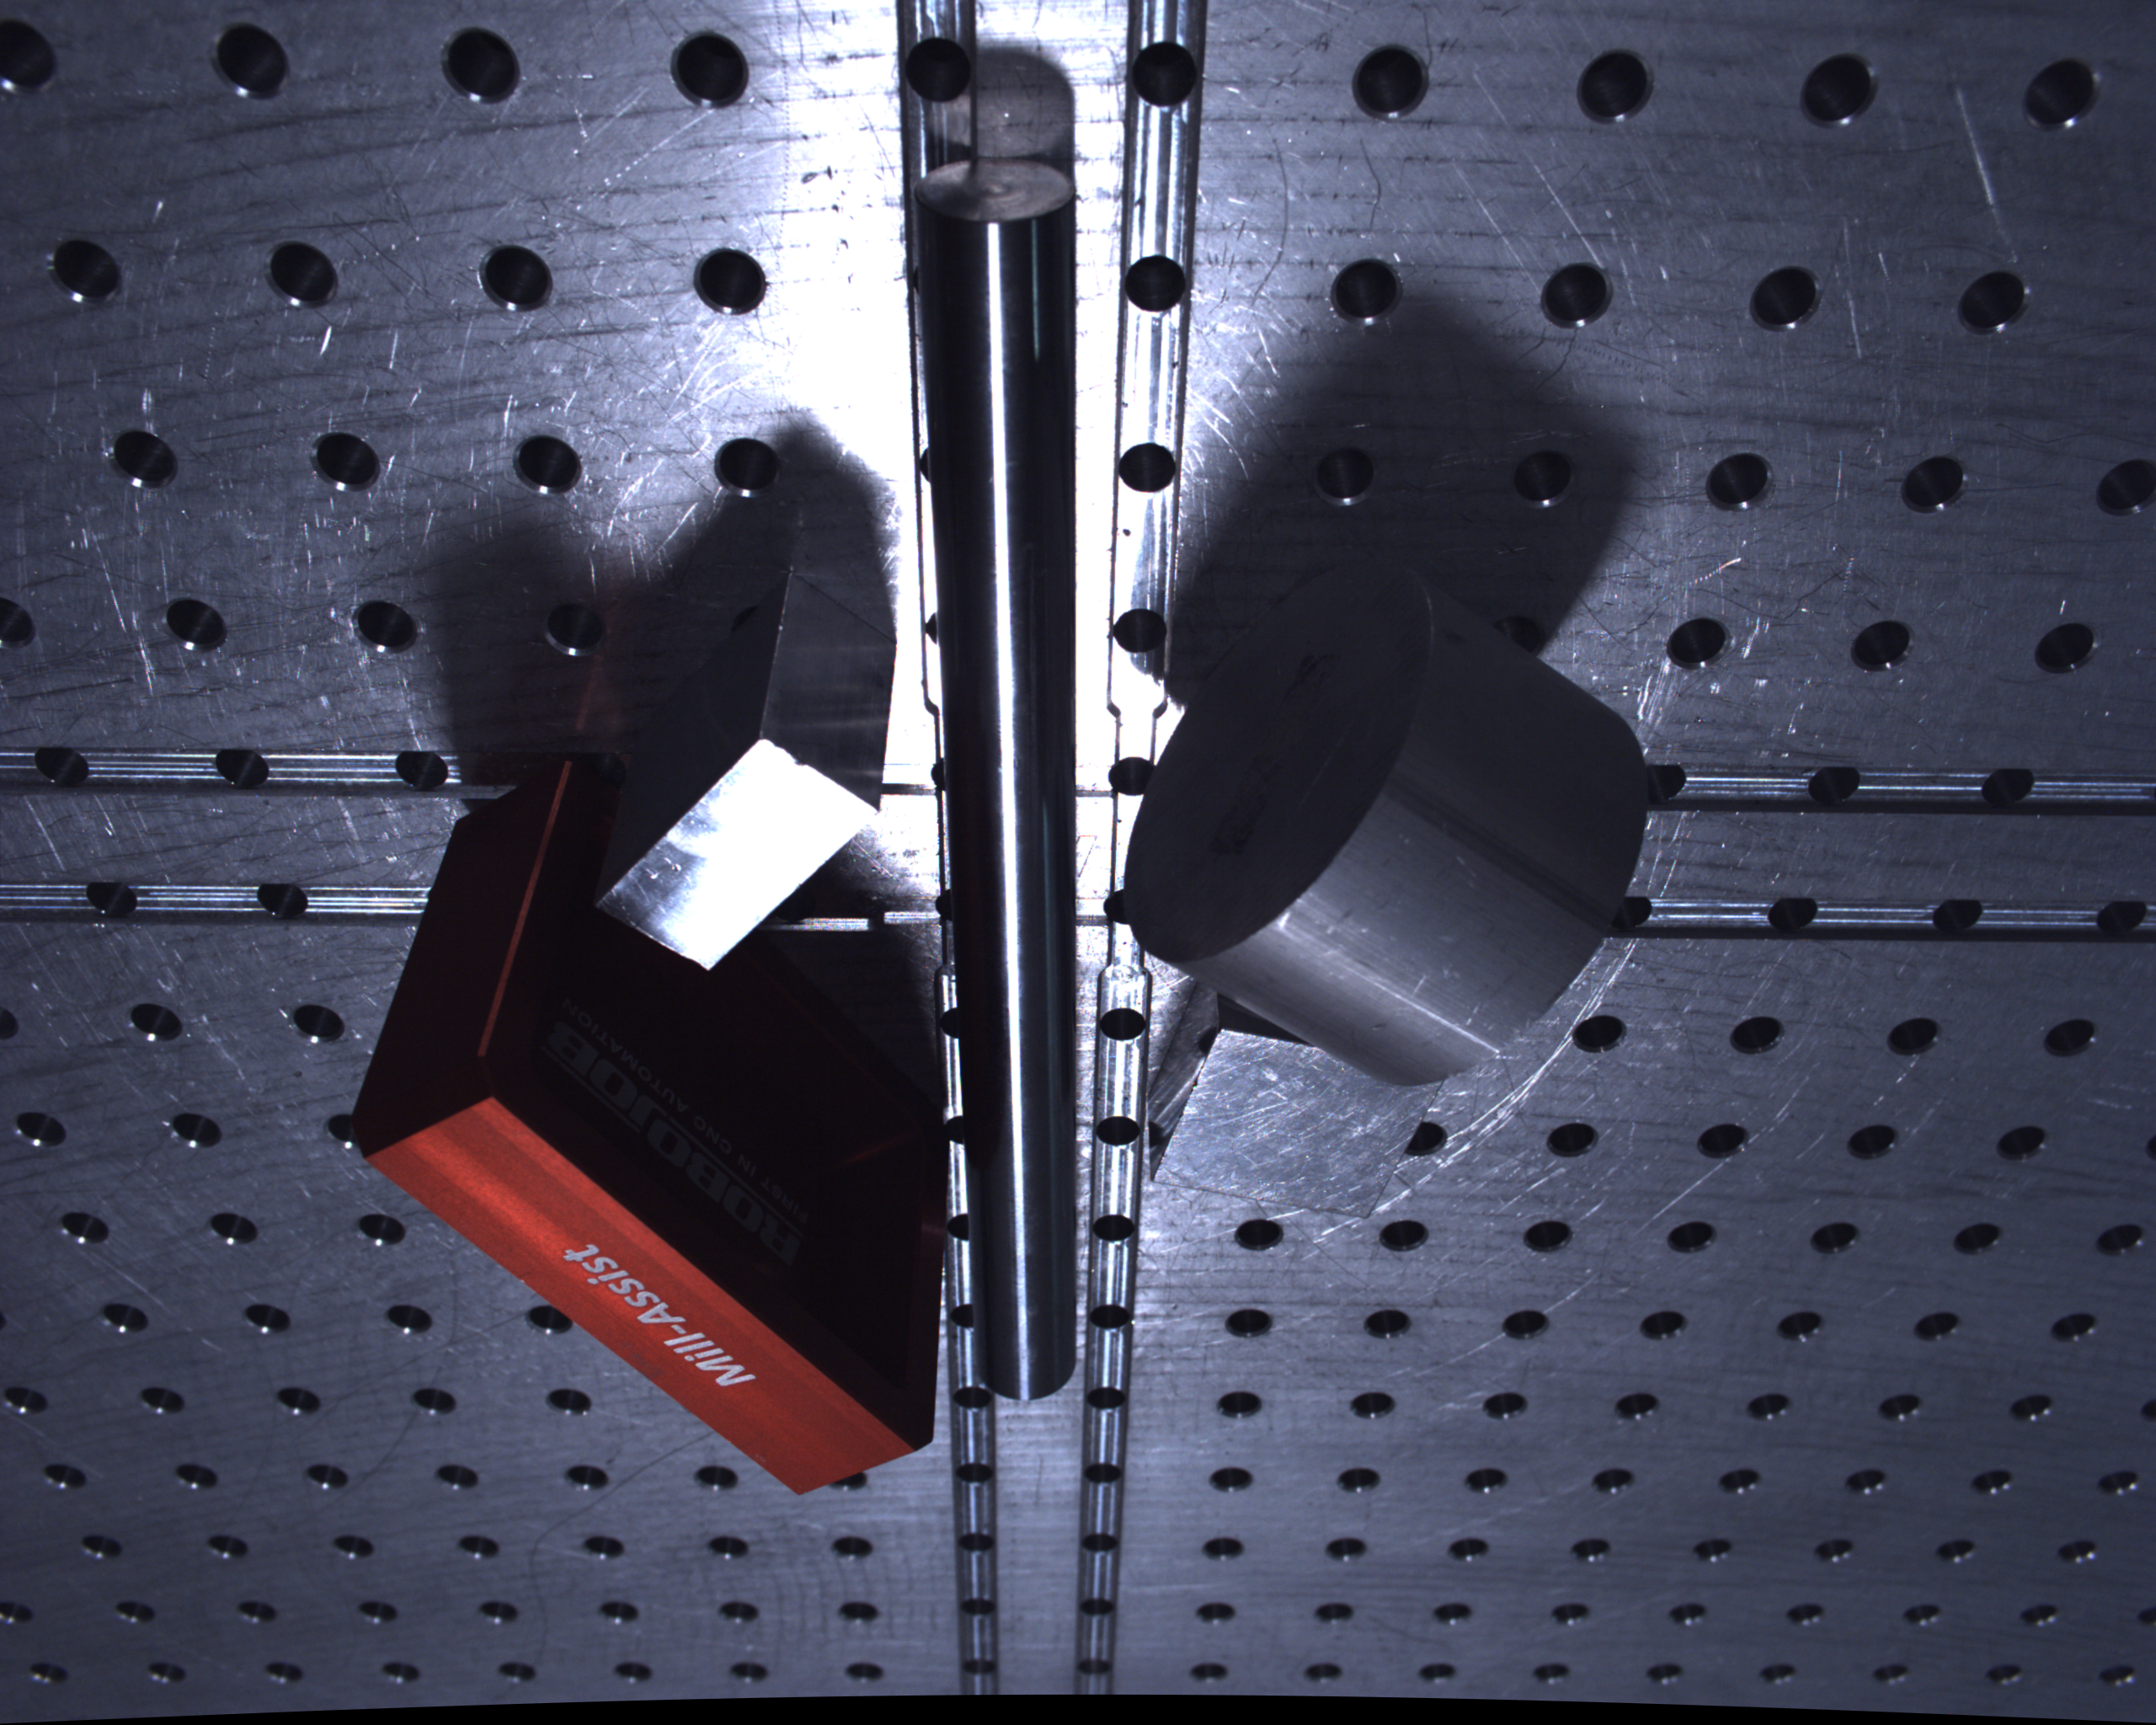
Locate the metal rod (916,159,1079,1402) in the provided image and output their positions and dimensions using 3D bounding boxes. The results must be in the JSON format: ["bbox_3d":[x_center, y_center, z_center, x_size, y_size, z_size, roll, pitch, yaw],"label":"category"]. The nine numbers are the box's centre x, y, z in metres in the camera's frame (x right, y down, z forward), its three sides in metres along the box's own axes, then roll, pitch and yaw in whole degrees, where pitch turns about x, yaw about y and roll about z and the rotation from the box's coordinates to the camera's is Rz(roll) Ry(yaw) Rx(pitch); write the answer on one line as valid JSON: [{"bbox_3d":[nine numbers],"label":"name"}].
[{"bbox_3d":[-0.013,0.010,0.419,0.025,0.025,0.298,0,130,0],"label":"metal rod"}]

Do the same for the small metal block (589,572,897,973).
[{"bbox_3d":[-0.060,-0.017,0.379,0.025,0.050,0.050,34,122,-26],"label":"small metal block"}]

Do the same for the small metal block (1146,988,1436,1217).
[{"bbox_3d":[0.046,0.048,0.454,0.050,0.025,0.050,12,129,-10],"label":"small metal block"}]

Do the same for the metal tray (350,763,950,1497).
[{"bbox_3d":[-0.076,0.054,0.413,0.030,0.090,0.130,-26,126,20],"label":"metal tray"}]

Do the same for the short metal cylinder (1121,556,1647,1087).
[{"bbox_3d":[0.052,-0.007,0.370,0.050,0.080,0.080,31,123,-24],"label":"short metal cylinder"}]
